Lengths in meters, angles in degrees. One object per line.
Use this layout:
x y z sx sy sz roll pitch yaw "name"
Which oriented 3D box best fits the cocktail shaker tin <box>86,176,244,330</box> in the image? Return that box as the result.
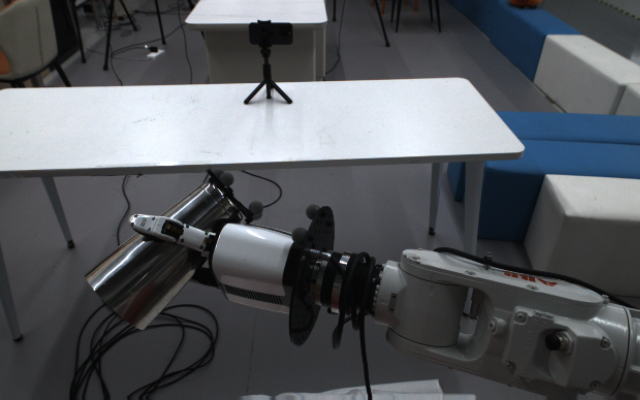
-0.175 0.056 0.575 0.170 0.093 0.093 -43 50 -14 "cocktail shaker tin"
